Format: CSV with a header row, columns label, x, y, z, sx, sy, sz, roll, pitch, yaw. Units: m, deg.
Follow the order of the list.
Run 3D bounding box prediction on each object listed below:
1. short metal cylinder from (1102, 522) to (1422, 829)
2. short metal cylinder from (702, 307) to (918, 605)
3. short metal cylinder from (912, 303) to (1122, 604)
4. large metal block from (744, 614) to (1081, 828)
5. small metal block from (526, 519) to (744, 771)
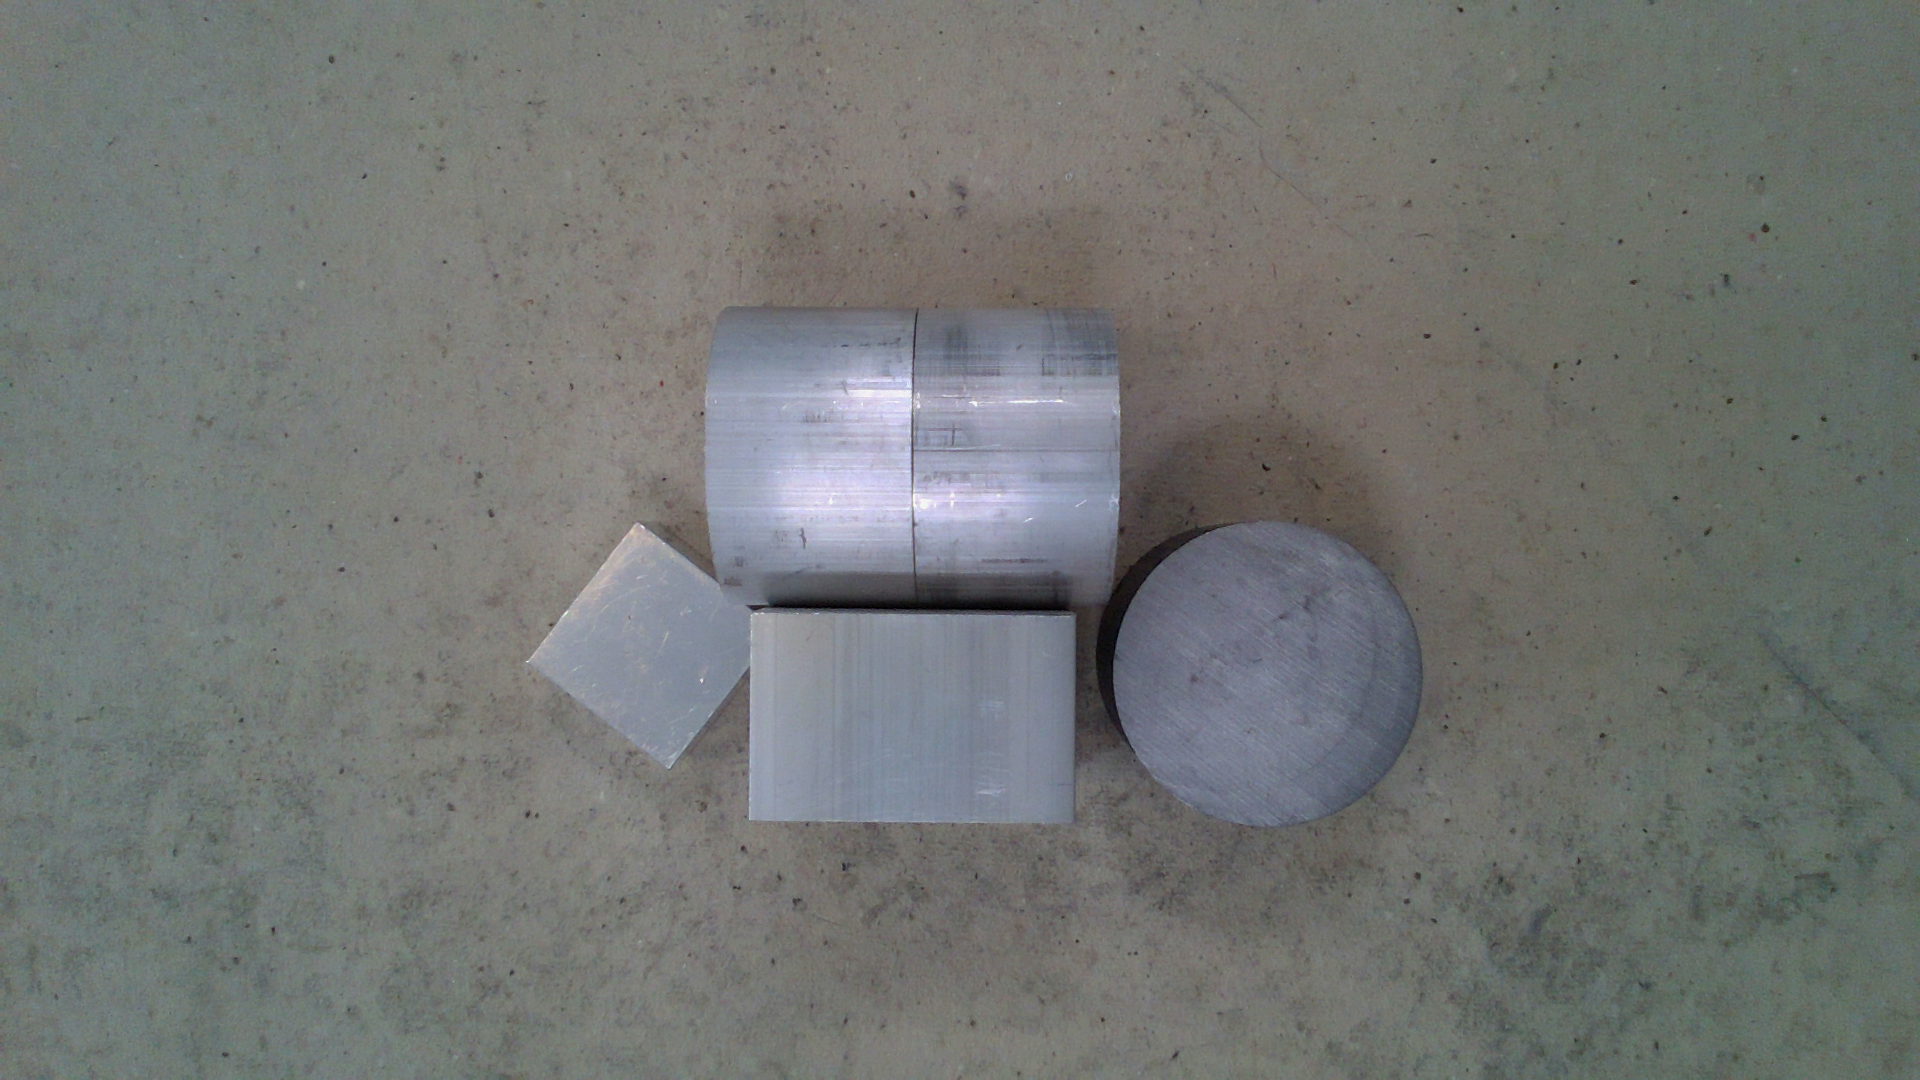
label,x,y,z,sx,sy,sz,roll,pitch,yaw
short metal cylinder,0.081,0.035,0.383,0.080,0.050,0.080,0,90,0
short metal cylinder,-0.036,-0.022,0.368,0.050,0.080,0.080,1,90,0
short metal cylinder,0.014,-0.023,0.368,0.050,0.080,0.080,1,90,0
large metal block,-0.011,0.043,0.369,0.080,0.080,0.050,1,90,0
small metal block,-0.086,0.029,0.396,0.050,0.025,0.050,38,90,0
